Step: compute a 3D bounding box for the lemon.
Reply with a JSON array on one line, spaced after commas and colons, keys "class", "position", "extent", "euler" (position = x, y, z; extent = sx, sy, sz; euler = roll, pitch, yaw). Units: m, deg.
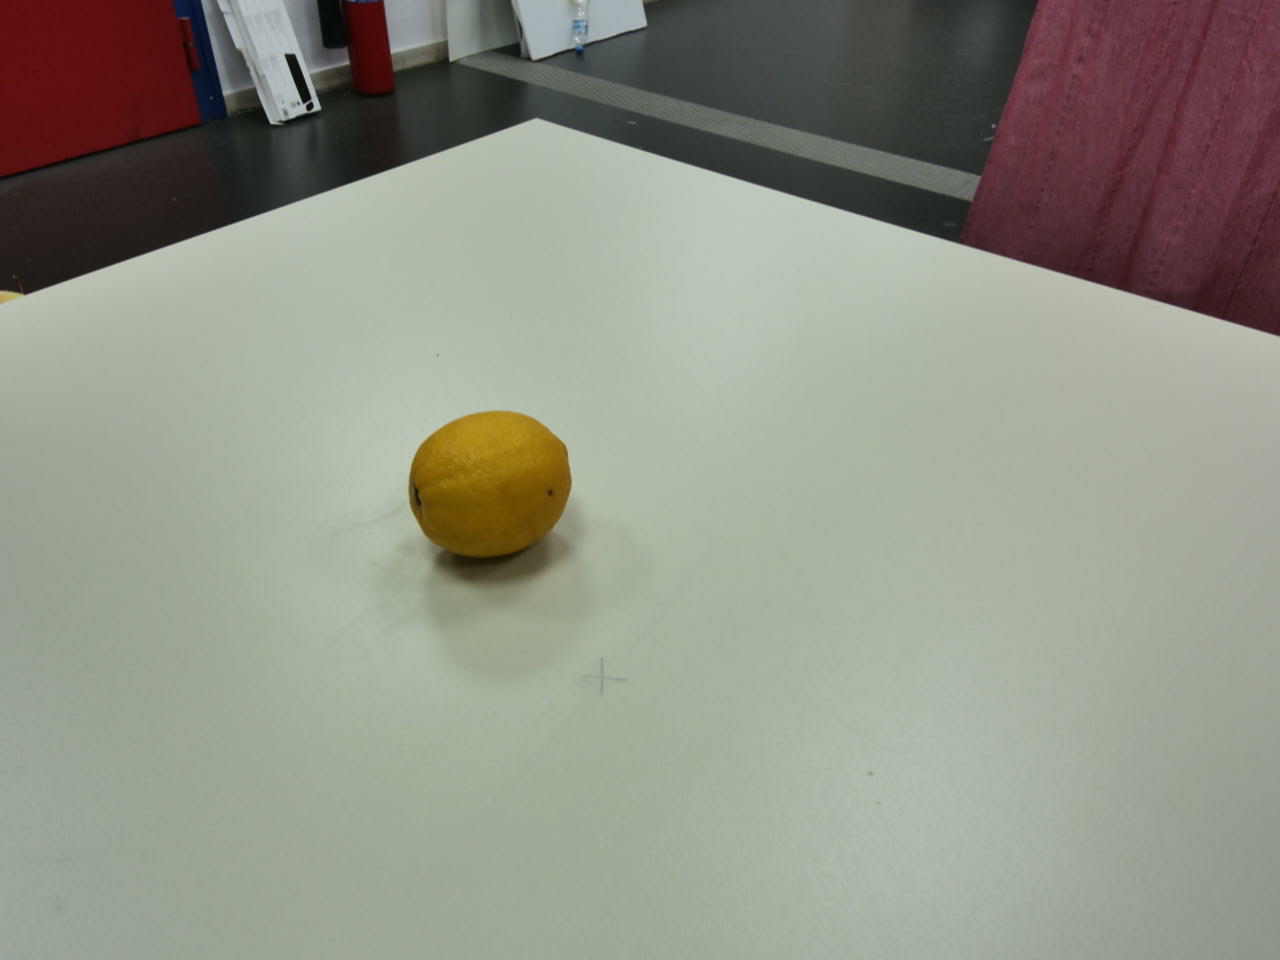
[{"class": "lemon", "position": [-0.062, 0.002, 0.414], "extent": [0.067, 0.059, 0.060], "euler": [-5, 36, -9]}]
